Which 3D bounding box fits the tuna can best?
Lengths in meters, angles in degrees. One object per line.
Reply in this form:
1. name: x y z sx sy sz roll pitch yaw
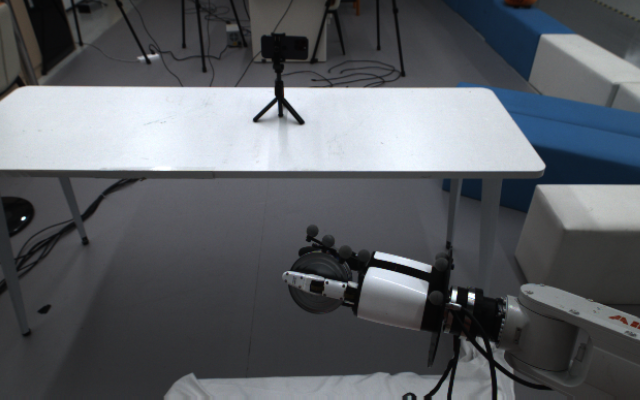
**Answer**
1. tuna can: 0.004 0.111 0.669 0.085 0.085 0.034 14 2 16
